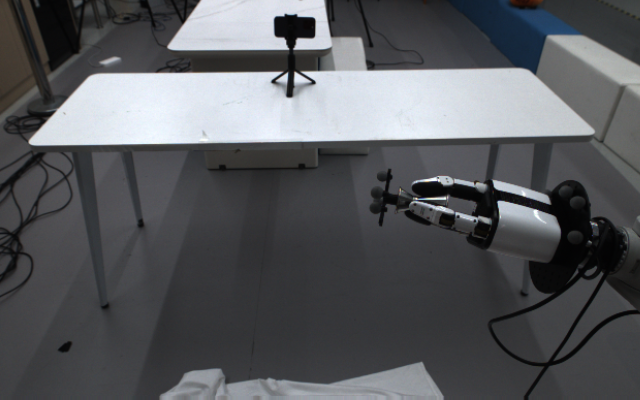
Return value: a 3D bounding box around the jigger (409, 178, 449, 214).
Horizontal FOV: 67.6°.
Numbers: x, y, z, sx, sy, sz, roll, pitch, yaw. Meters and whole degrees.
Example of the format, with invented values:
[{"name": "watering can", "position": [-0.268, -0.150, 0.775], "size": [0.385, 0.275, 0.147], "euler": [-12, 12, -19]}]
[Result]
[{"name": "jigger", "position": [0.149, 0.000, 0.683], "size": [0.071, 0.043, 0.043], "euler": [9, 35, 9]}]
